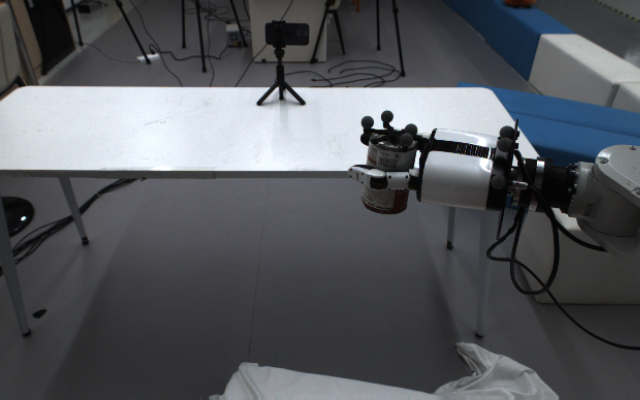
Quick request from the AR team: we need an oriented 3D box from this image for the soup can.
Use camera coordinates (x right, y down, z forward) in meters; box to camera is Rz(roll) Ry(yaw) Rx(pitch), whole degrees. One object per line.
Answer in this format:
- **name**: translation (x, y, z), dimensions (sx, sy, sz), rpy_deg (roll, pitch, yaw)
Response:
- **soup can**: translation (0.098, -0.040, 0.681), dimensions (0.067, 0.101, 0.067), rpy_deg (3, 30, -2)
